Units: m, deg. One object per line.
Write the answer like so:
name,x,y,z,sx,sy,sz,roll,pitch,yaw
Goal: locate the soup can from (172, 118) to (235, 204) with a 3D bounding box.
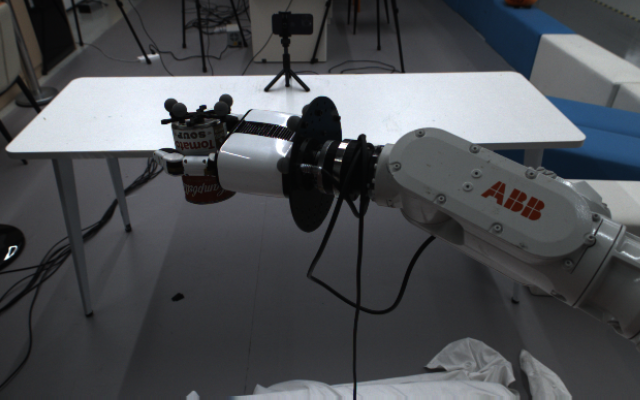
soup can,-0.146,-0.054,0.617,0.067,0.101,0.067,-4,25,2
